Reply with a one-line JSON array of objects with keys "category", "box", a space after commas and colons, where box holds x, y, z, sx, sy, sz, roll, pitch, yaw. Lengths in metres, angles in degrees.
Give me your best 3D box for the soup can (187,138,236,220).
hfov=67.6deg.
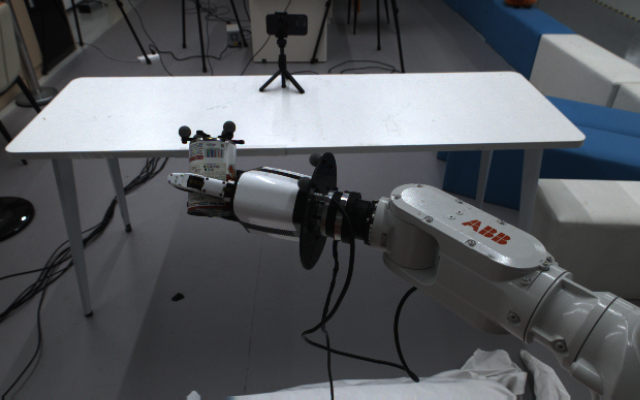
[{"category": "soup can", "box": [-0.151, -0.029, 0.681, 0.067, 0.101, 0.067, -1, -9, 0]}]
